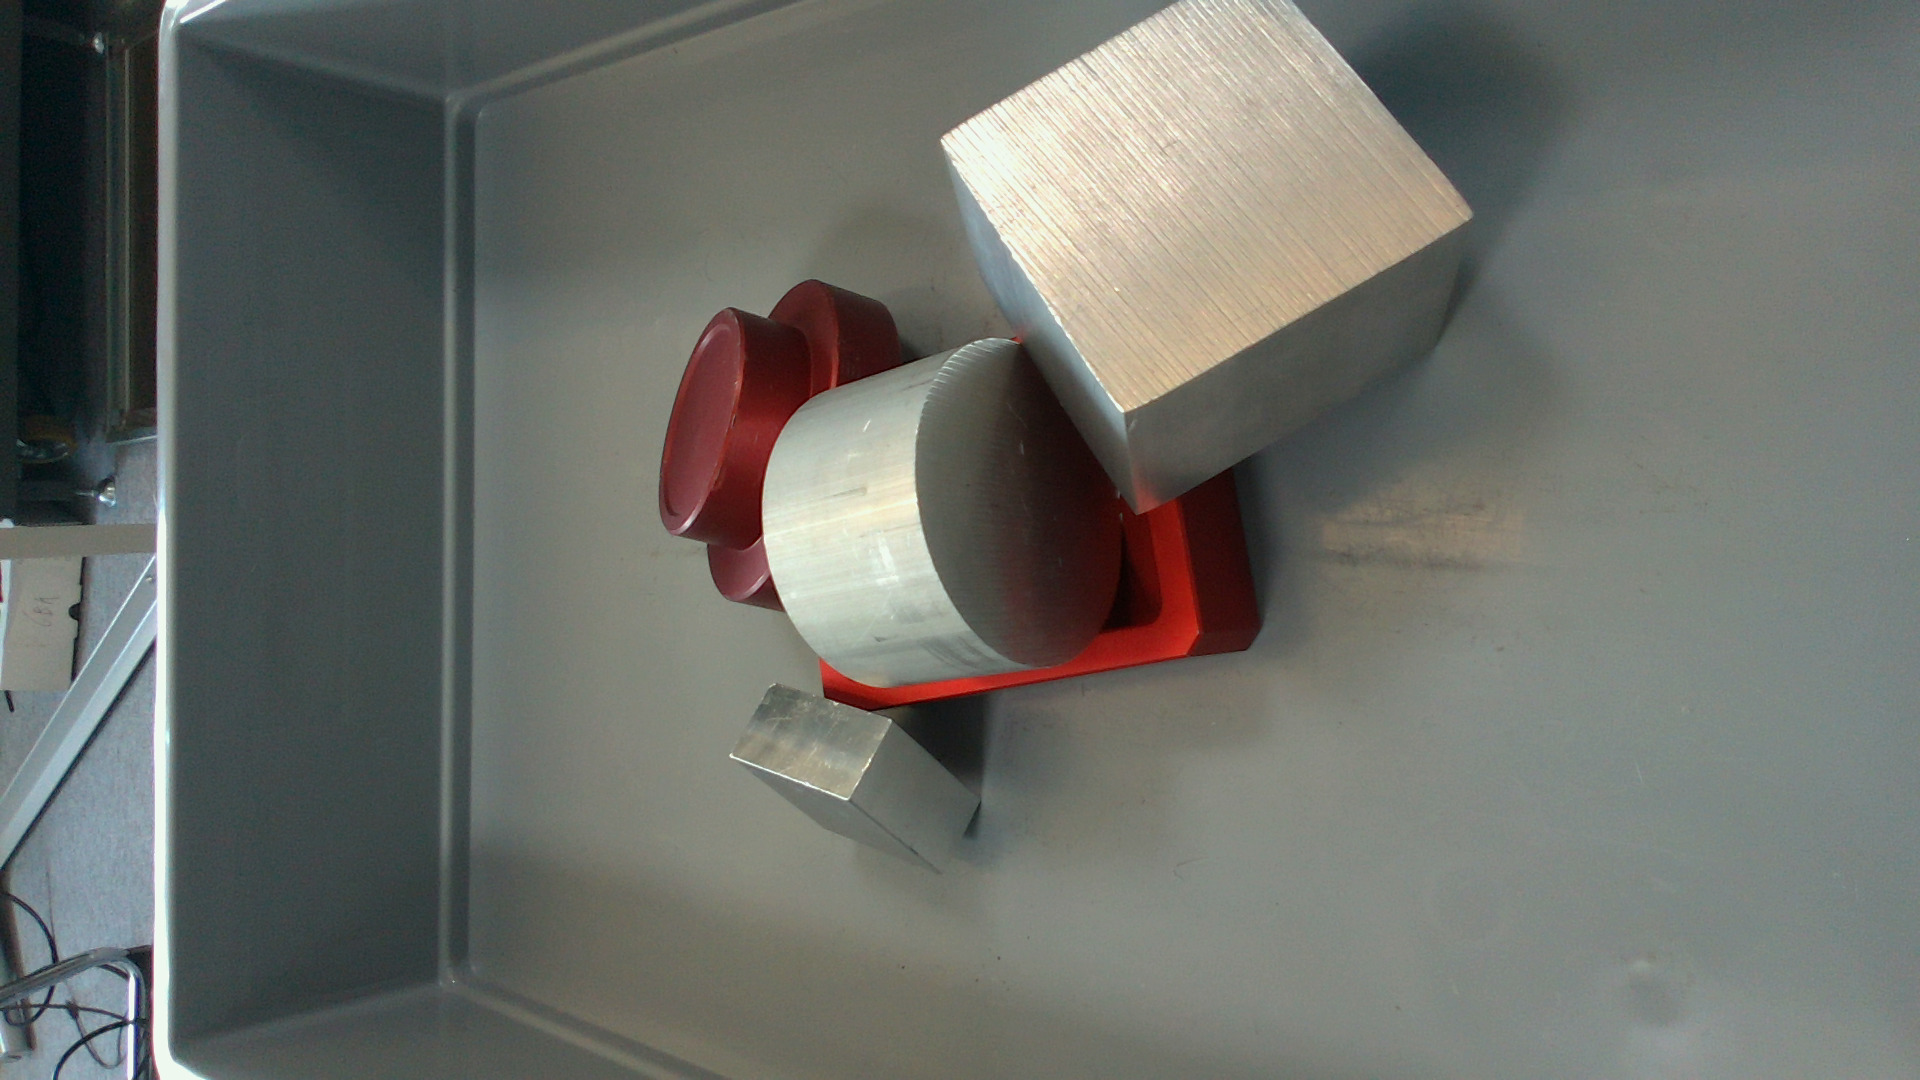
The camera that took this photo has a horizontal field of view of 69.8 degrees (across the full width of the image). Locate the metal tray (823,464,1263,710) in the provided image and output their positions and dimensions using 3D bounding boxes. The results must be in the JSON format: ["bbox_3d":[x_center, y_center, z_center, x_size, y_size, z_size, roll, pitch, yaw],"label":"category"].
[{"bbox_3d":[0.013,-0.004,0.381,0.129,0.030,0.090,-15,81,39],"label":"metal tray"}]

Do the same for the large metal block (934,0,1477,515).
[{"bbox_3d":[0.052,-0.066,0.307,0.080,0.050,0.080,-30,67,-3],"label":"large metal block"}]

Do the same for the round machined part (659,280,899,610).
[{"bbox_3d":[-0.058,-0.030,0.406,0.098,0.042,0.098,-41,41,50],"label":"round machined part"}]

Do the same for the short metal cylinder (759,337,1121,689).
[{"bbox_3d":[-0.003,-0.005,0.343,0.050,0.080,0.080,-12,83,39],"label":"short metal cylinder"}]

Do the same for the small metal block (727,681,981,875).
[{"bbox_3d":[-0.030,0.069,0.399,0.050,0.050,0.025,10,62,40],"label":"small metal block"}]
